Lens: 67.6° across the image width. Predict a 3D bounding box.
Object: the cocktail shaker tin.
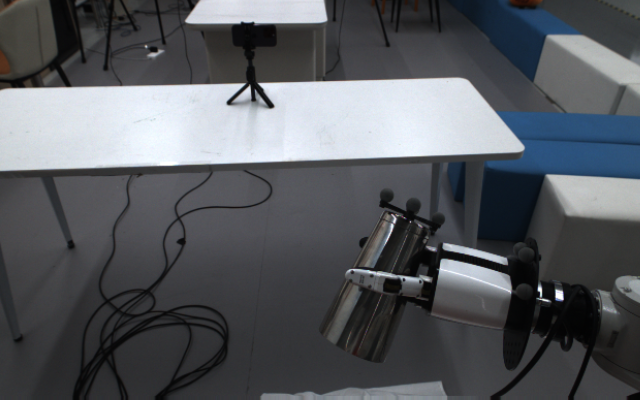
[{"bbox_3d":[0.077,0.101,0.609,0.093,0.170,0.093,23,0,0],"label":"cocktail shaker tin"}]
